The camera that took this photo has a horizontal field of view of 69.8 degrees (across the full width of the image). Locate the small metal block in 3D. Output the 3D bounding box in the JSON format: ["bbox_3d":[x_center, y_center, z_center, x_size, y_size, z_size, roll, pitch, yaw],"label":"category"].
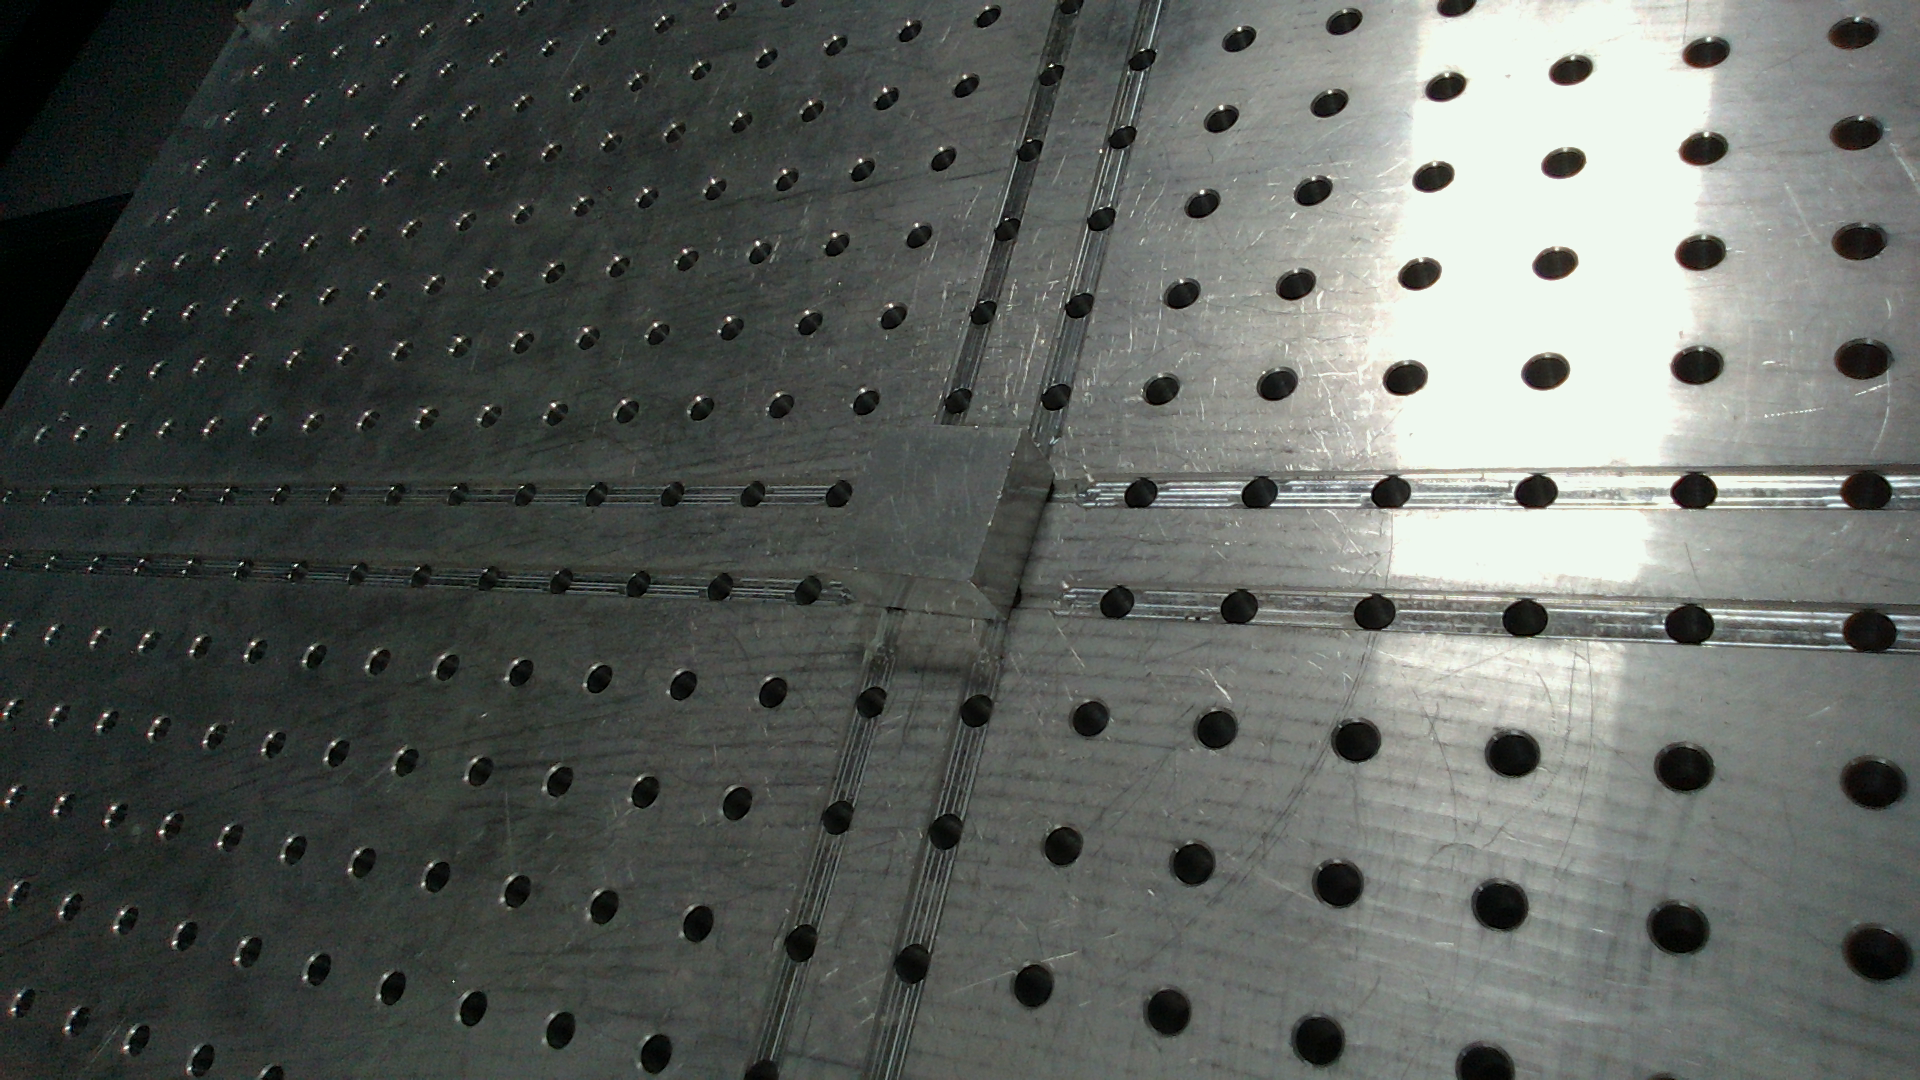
[{"bbox_3d":[-0.006,-0.007,0.404,0.050,0.025,0.050,5,64,31],"label":"small metal block"}]
